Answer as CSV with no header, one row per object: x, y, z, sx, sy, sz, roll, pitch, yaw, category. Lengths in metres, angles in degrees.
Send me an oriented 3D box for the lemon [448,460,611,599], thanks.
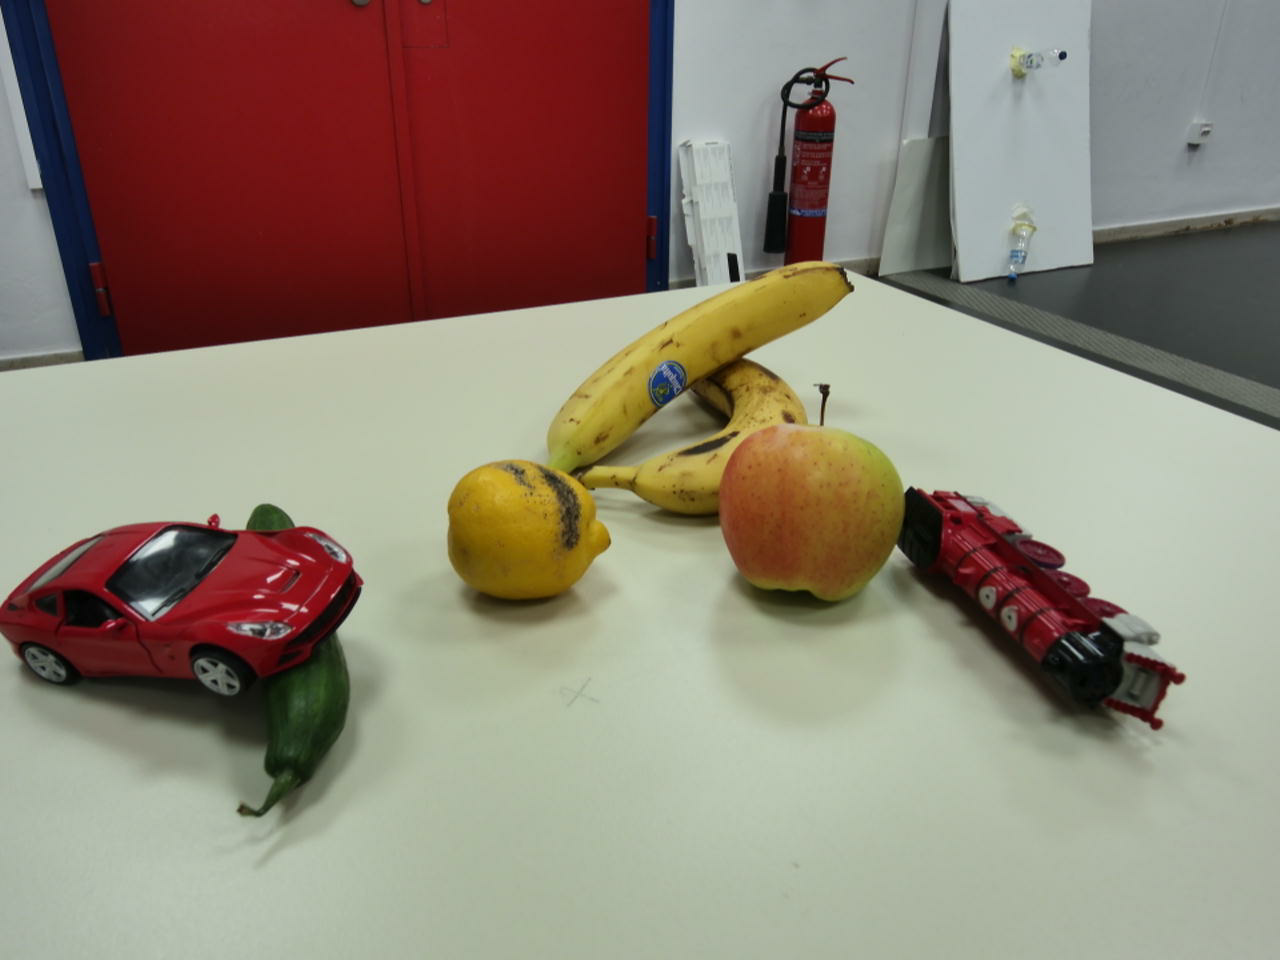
-0.049,0.020,0.405,0.061,0.056,0.058,-16,28,-31,lemon
